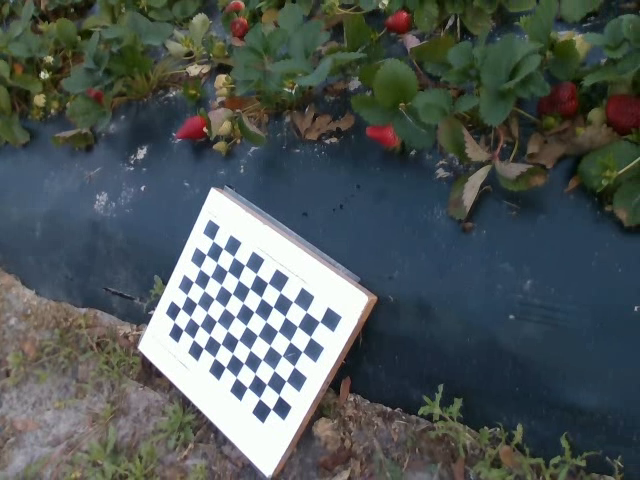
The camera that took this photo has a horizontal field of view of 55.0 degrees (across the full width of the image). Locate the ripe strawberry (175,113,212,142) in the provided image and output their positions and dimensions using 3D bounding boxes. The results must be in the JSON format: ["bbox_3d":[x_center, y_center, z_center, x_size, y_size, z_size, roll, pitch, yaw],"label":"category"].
[{"bbox_3d":[-0.201,-0.173,0.947,0.050,0.034,0.059,21,49,34],"label":"ripe strawberry"}]
